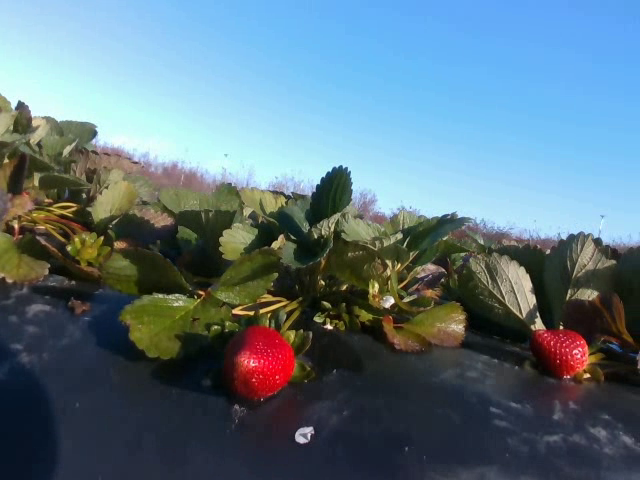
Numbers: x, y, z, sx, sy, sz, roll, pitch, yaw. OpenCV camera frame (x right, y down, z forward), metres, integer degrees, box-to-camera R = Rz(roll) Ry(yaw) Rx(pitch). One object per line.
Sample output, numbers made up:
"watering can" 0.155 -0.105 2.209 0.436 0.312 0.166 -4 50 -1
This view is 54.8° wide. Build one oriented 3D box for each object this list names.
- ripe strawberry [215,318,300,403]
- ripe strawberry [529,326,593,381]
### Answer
"ripe strawberry" -0.033 0.060 0.303 0.045 0.042 0.055 23 -5 10
"ripe strawberry" 0.144 0.065 0.373 0.046 0.036 0.035 24 24 1
